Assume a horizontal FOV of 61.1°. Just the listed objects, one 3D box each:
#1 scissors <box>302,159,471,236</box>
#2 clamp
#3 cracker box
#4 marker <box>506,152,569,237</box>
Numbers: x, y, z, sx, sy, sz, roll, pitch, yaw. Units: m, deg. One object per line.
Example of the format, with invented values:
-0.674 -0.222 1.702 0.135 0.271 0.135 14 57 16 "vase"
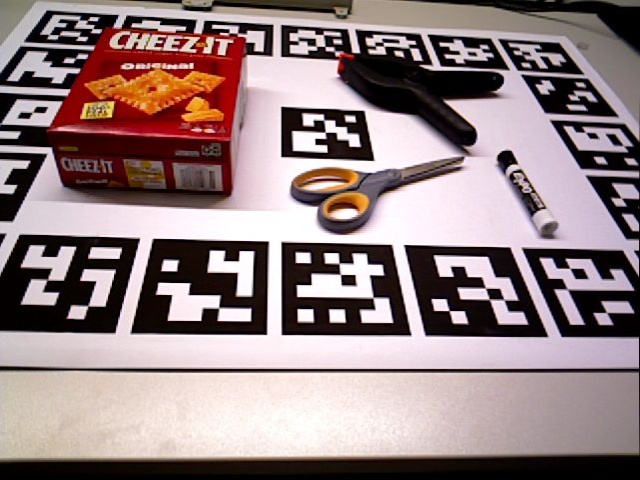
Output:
0.077 -0.057 0.544 0.199 0.016 0.087 -19 49 -27 "scissors"
0.114 -0.183 0.682 0.203 0.037 0.161 23 46 16 "clamp"
-0.156 -0.138 0.563 0.163 0.074 0.210 2 45 -4 "cracker box"
0.218 -0.051 0.552 0.019 0.020 0.119 -2 44 -8 "marker"
